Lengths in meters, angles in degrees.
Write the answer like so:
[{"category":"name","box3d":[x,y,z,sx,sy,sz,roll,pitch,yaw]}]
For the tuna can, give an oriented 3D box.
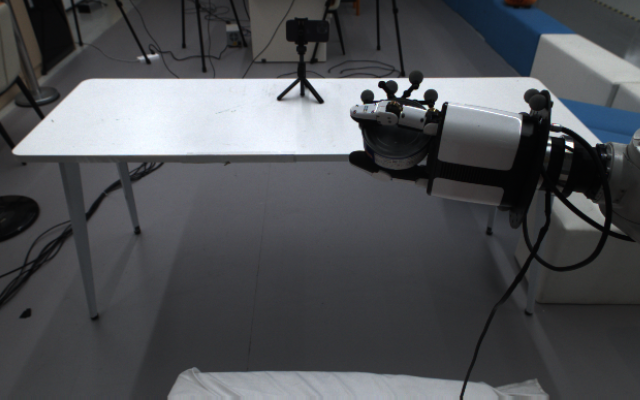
[{"category":"tuna can","box3d":[0.095,-0.082,0.592,0.085,0.034,0.085,-4,61,7]}]
